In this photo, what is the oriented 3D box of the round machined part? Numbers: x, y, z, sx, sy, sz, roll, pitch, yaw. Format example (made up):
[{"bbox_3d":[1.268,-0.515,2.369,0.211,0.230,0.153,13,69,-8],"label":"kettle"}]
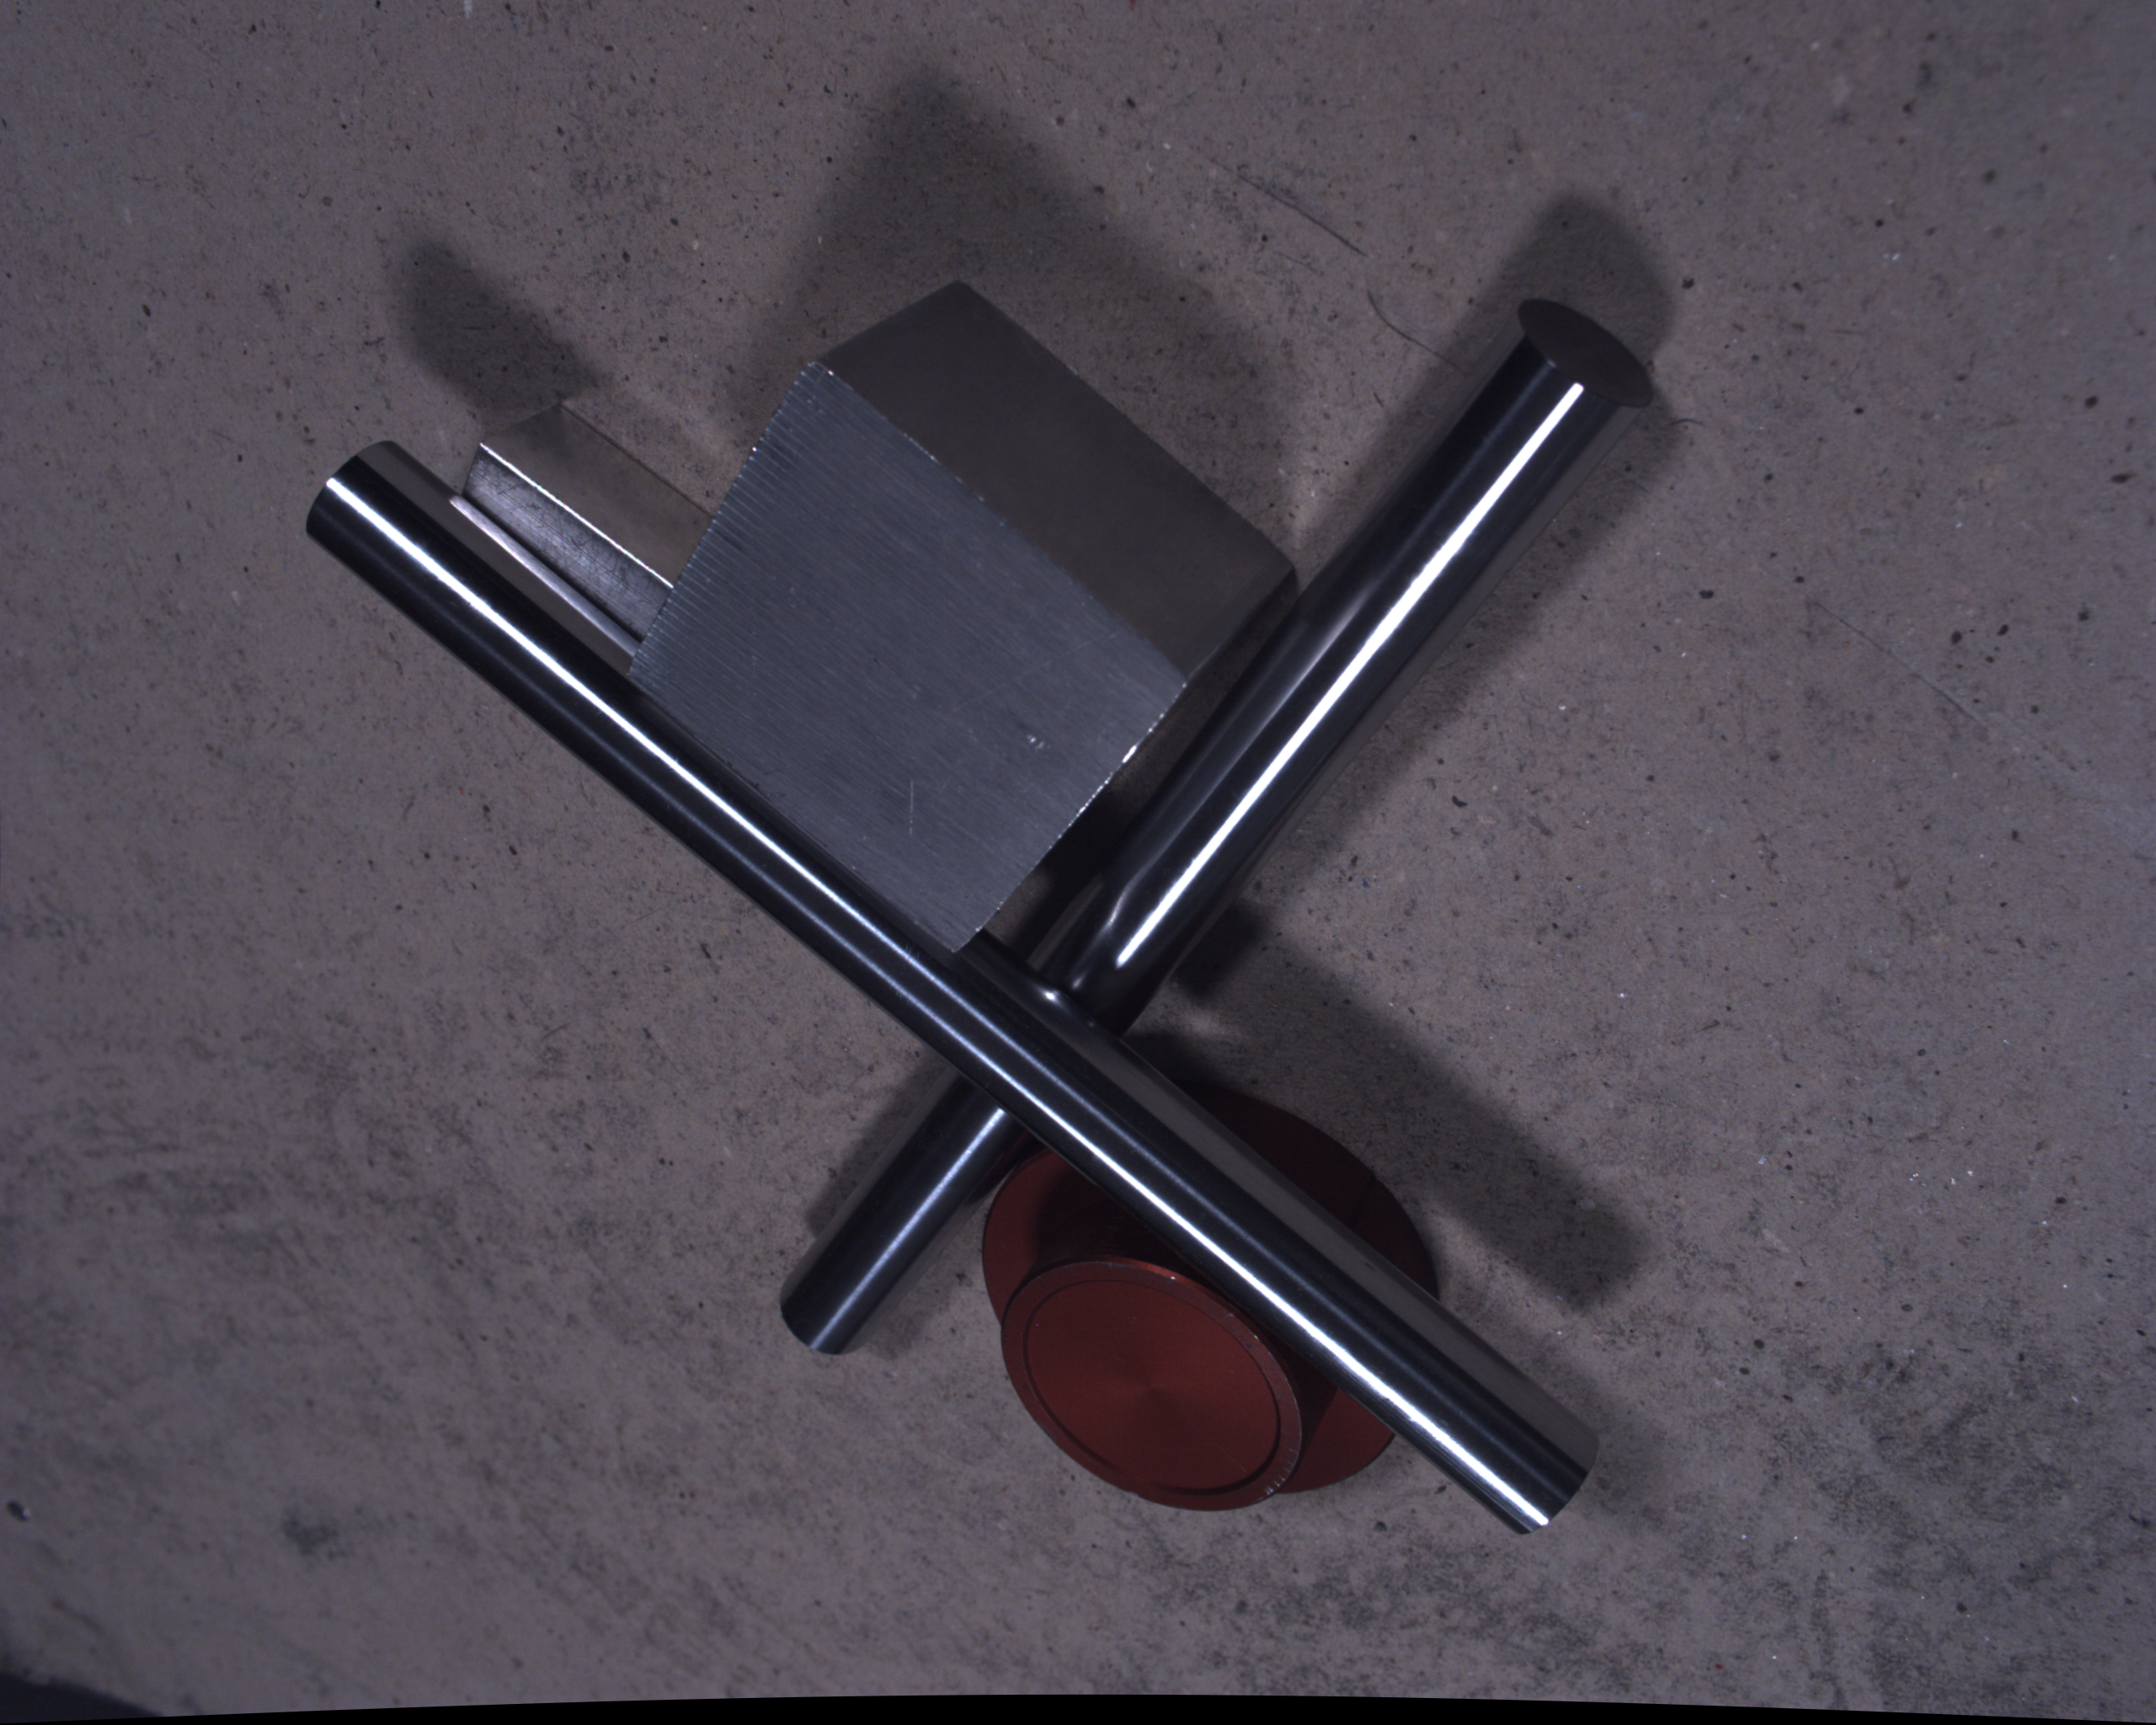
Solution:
[{"bbox_3d":[0.023,0.099,0.444,0.098,0.042,0.097,13,124,20],"label":"round machined part"}]

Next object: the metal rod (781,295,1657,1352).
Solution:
[{"bbox_3d":[0.009,0.014,0.413,0.025,0.025,0.298,38,129,2],"label":"metal rod"}]

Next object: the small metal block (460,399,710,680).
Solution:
[{"bbox_3d":[-0.101,-0.057,0.426,0.050,0.025,0.050,37,129,3],"label":"small metal block"}]

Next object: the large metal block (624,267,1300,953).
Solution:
[{"bbox_3d":[-0.022,-0.045,0.376,0.080,0.050,0.080,41,129,0],"label":"large metal block"}]

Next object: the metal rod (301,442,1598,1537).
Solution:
[{"bbox_3d":[-0.025,0.024,0.402,0.300,0.025,0.025,39,129,1],"label":"metal rod"}]
